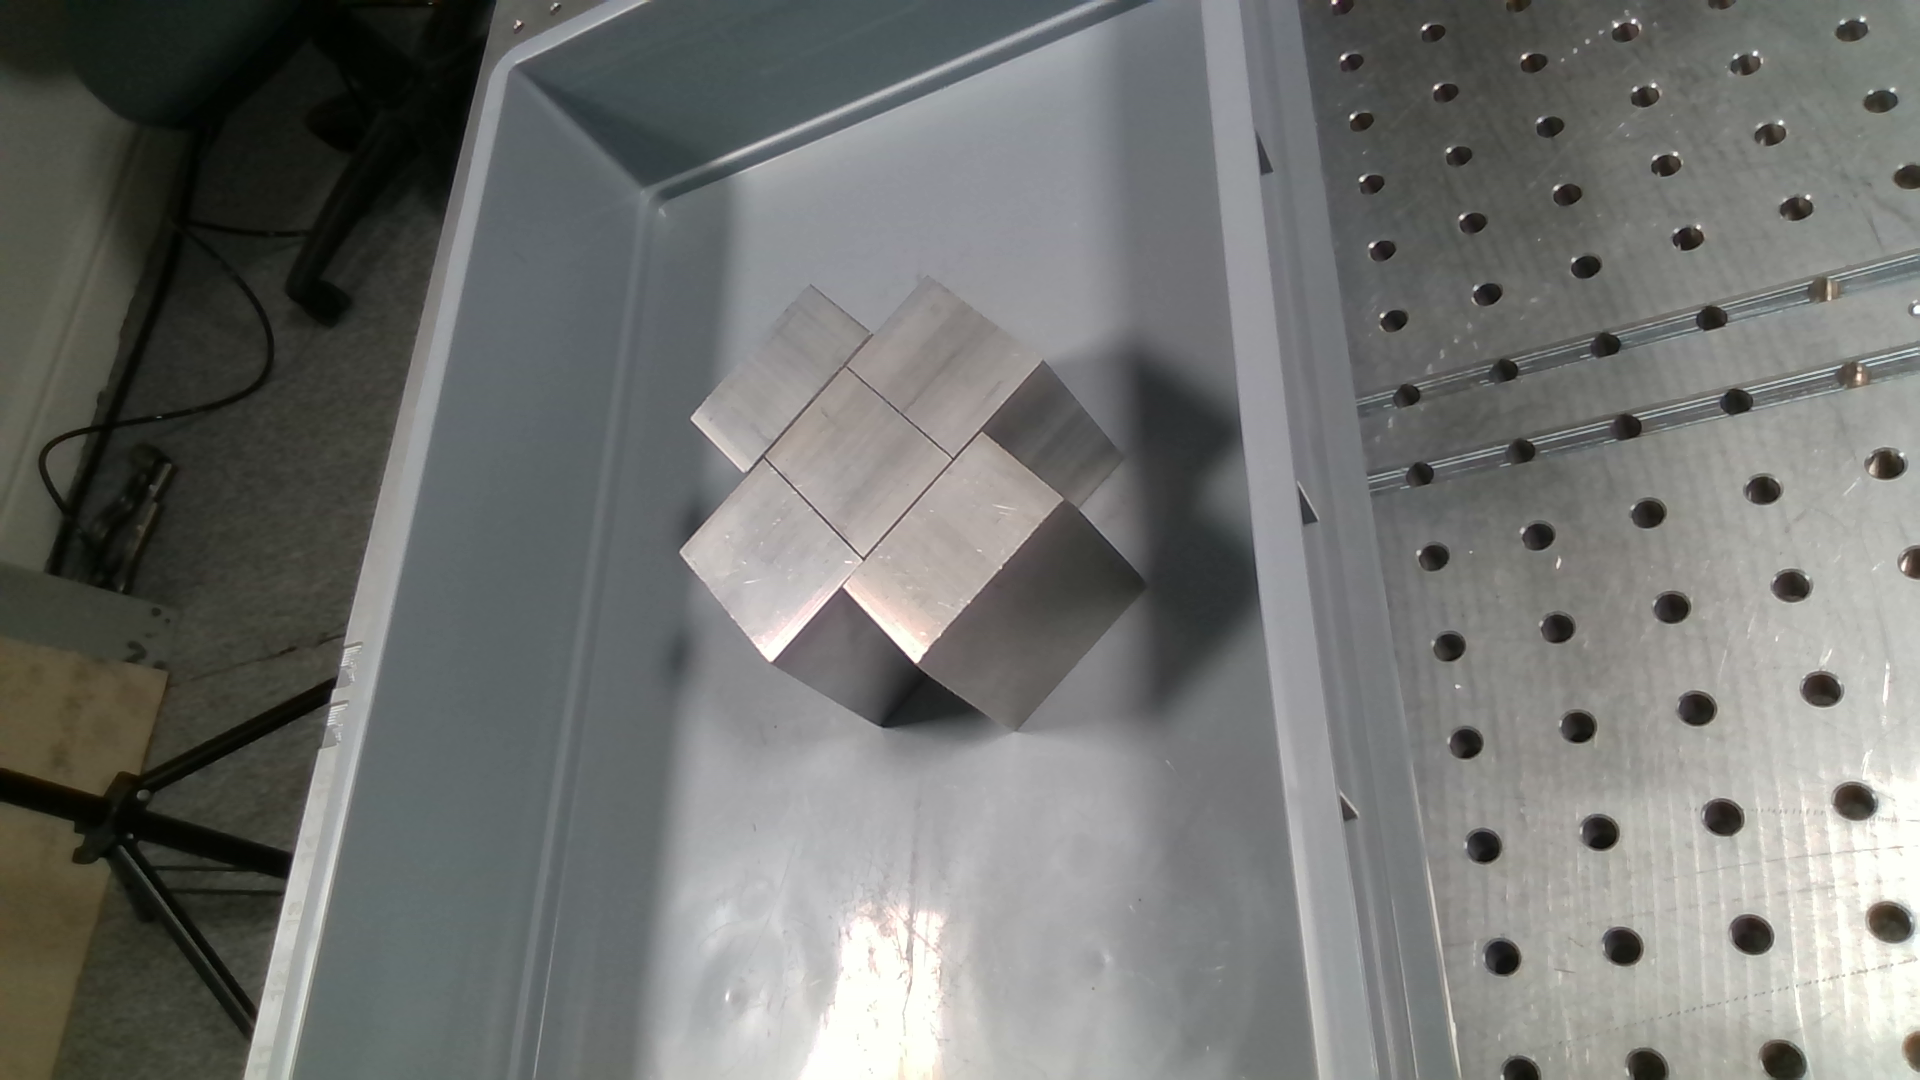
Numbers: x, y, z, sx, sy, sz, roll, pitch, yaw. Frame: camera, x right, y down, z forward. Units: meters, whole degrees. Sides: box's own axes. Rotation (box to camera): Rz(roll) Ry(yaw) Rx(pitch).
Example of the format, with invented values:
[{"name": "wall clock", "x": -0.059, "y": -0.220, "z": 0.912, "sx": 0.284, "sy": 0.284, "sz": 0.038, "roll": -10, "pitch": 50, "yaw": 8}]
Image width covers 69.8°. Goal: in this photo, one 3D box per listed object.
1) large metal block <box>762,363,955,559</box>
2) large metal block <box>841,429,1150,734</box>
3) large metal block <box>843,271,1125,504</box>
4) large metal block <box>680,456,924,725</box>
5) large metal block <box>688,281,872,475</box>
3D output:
[{"name": "large metal block", "x": -0.023, "y": -0.016, "z": 0.572, "sx": 0.050, "sy": 0.080, "sz": 0.080, "roll": -48, "pitch": 51, "yaw": 1}, {"name": "large metal block", "x": 0.015, "y": 0.018, "z": 0.531, "sx": 0.080, "sy": 0.080, "sz": 0.050, "roll": -48, "pitch": 51, "yaw": 1}, {"name": "large metal block", "x": 0.011, "y": -0.054, "z": 0.571, "sx": 0.050, "sy": 0.080, "sz": 0.080, "roll": -48, "pitch": 51, "yaw": 1}, {"name": "large metal block", "x": -0.057, "y": 0.022, "z": 0.574, "sx": 0.050, "sy": 0.080, "sz": 0.080, "roll": -48, "pitch": 51, "yaw": 1}, {"name": "large metal block", "x": -0.058, "y": -0.053, "z": 0.614, "sx": 0.080, "sy": 0.080, "sz": 0.050, "roll": -48, "pitch": 51, "yaw": 1}]
